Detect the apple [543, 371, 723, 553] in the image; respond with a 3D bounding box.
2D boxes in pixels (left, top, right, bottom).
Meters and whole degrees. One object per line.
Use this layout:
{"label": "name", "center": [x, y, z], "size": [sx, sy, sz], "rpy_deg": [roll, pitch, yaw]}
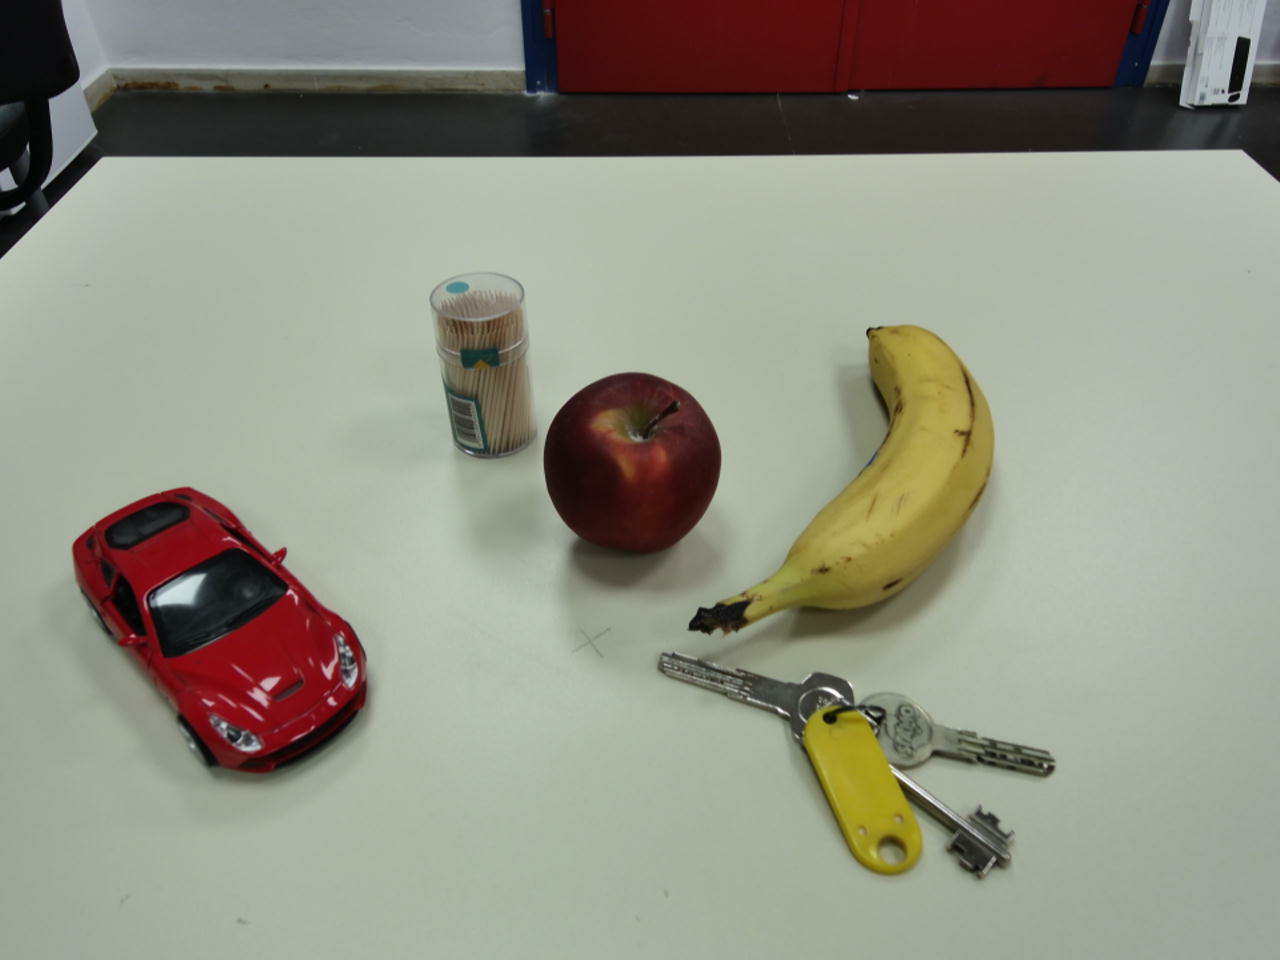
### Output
{"label": "apple", "center": [-0.003, -0.005, 0.388], "size": [0.070, 0.072, 0.070], "rpy_deg": [1, 38, -1]}
